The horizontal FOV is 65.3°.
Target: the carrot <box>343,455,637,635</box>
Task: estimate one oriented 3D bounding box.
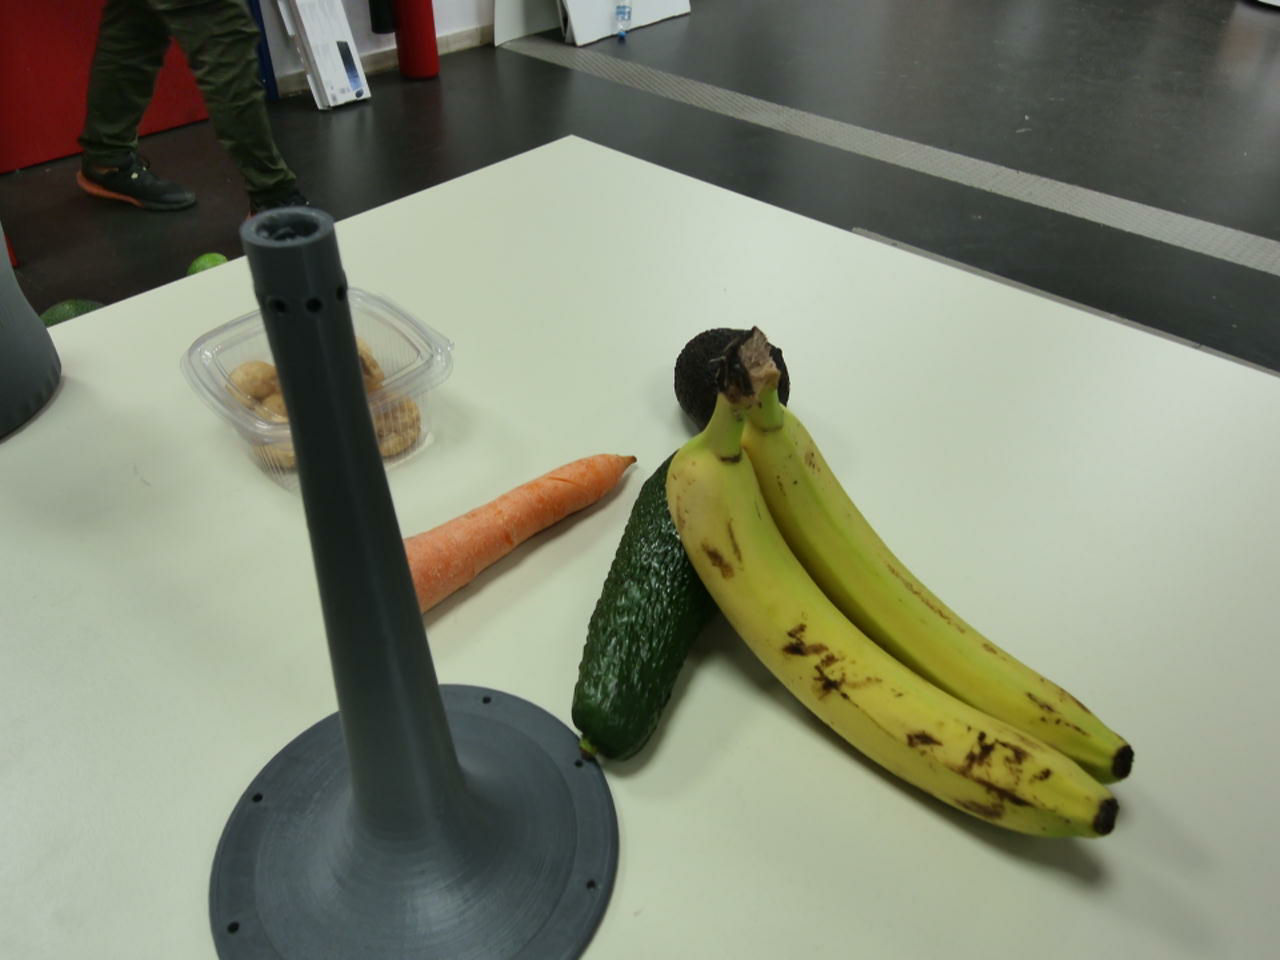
[{"bbox_3d":[-0.071,0.020,0.529,0.039,0.041,0.196,28,45,31],"label":"carrot"}]
